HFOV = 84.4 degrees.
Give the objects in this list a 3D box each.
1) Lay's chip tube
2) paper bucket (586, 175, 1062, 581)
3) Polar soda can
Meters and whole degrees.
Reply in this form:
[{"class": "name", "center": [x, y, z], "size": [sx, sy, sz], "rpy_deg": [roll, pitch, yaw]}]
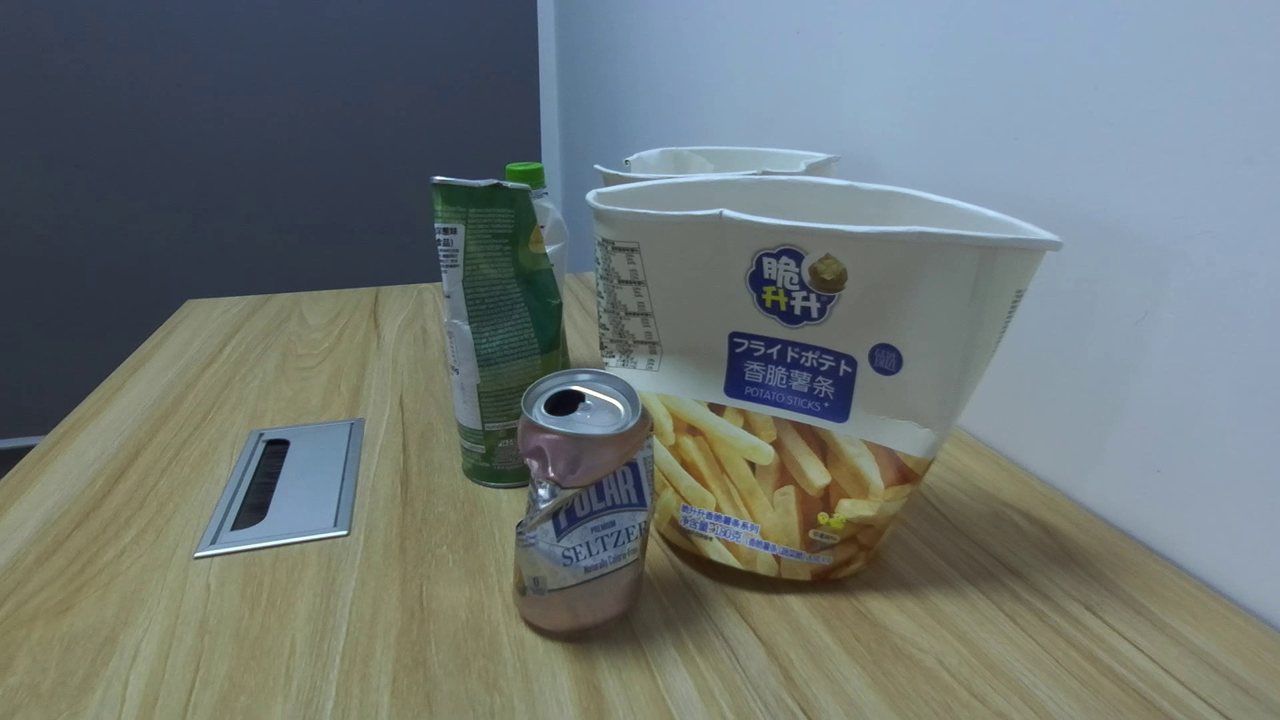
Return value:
[{"class": "Lay's chip tube", "center": [-0.093, -0.020, 0.470], "size": [0.079, 0.199, 0.070], "rpy_deg": [-9, 15, -26]}, {"class": "paper bucket", "center": [0.080, 0.005, 0.400], "size": [0.218, 0.199, 0.147], "rpy_deg": [-1, 23, -3]}, {"class": "Polar soda can", "center": [-0.029, 0.072, 0.346], "size": [0.066, 0.122, 0.071], "rpy_deg": [9, 24, 9]}]
